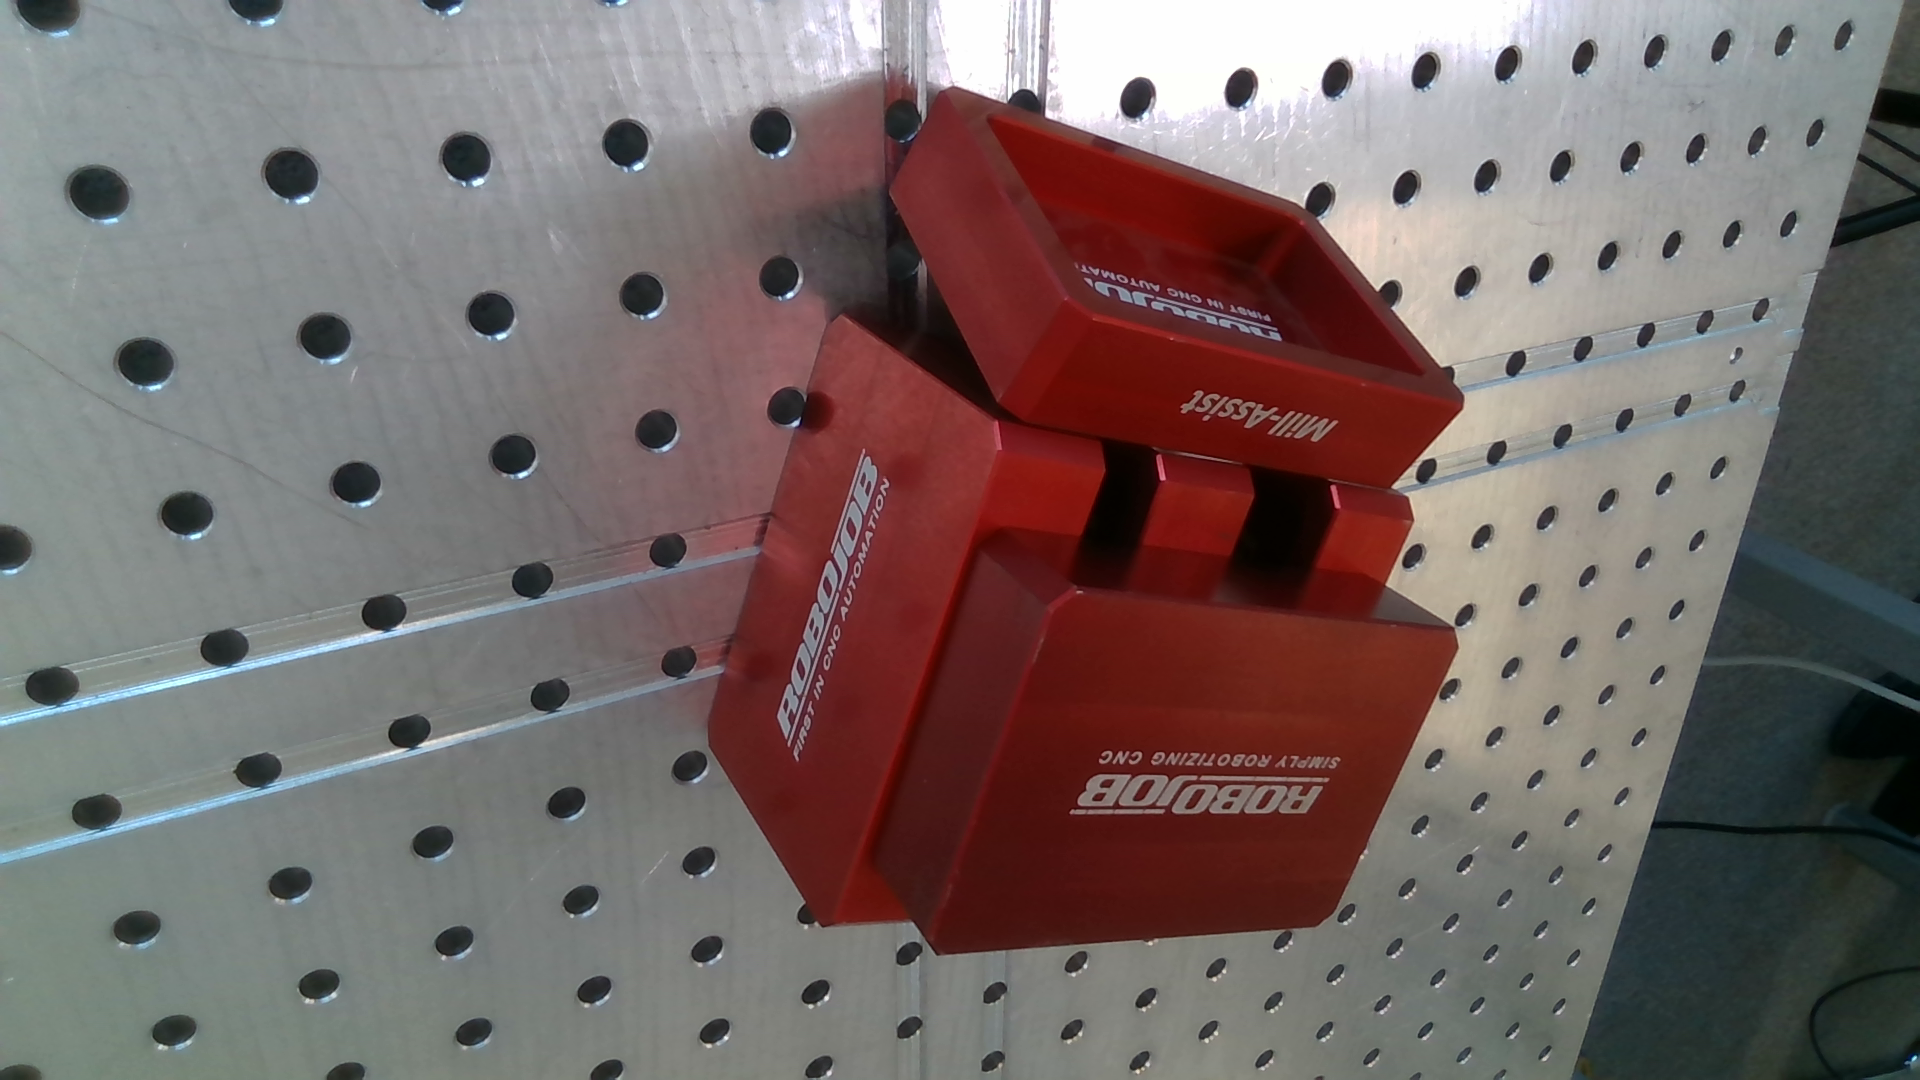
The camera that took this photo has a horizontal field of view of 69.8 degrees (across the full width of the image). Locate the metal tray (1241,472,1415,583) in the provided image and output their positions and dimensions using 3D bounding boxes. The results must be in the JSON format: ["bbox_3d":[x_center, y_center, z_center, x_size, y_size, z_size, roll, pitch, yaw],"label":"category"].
[{"bbox_3d":[0.068,0.030,0.407,0.030,0.090,0.130,7,110,-34],"label":"metal tray"}]

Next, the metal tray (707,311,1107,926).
[{"bbox_3d":[-0.020,0.018,0.347,0.030,0.090,0.130,7,111,-34],"label":"metal tray"}]

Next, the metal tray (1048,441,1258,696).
[{"bbox_3d":[0.019,0.023,0.373,0.030,0.090,0.130,5,113,-35],"label":"metal tray"}]

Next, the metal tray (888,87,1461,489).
[{"bbox_3d":[0.055,-0.061,0.347,0.130,0.090,0.030,7,133,-34],"label":"metal tray"}]

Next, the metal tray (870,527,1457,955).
[{"bbox_3d":[0.052,0.050,0.331,0.130,0.030,0.090,7,111,-34],"label":"metal tray"}]
